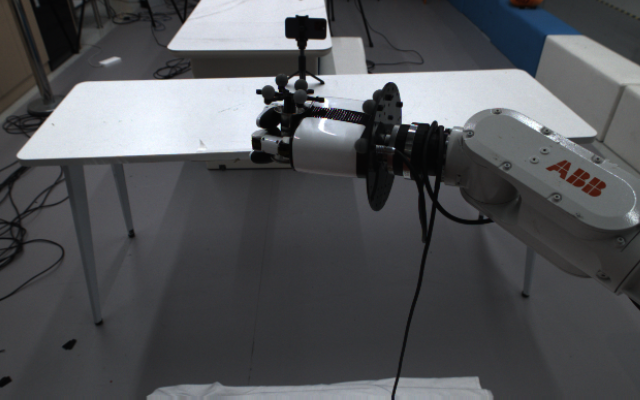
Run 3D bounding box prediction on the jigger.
[{"bbox_3d":[-0.041,-0.087,0.641,0.043,0.071,0.043,6,26,-3],"label":"jigger"}]
